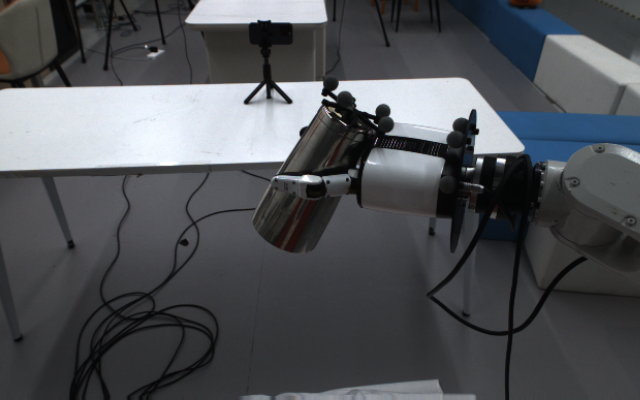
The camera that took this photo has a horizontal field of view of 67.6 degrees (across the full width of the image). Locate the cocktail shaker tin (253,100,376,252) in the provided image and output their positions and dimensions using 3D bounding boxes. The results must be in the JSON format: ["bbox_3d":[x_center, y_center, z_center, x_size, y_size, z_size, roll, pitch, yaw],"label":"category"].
[{"bbox_3d":[-0.004,-0.032,0.587,0.093,0.170,0.093,24,29,-15],"label":"cocktail shaker tin"}]
